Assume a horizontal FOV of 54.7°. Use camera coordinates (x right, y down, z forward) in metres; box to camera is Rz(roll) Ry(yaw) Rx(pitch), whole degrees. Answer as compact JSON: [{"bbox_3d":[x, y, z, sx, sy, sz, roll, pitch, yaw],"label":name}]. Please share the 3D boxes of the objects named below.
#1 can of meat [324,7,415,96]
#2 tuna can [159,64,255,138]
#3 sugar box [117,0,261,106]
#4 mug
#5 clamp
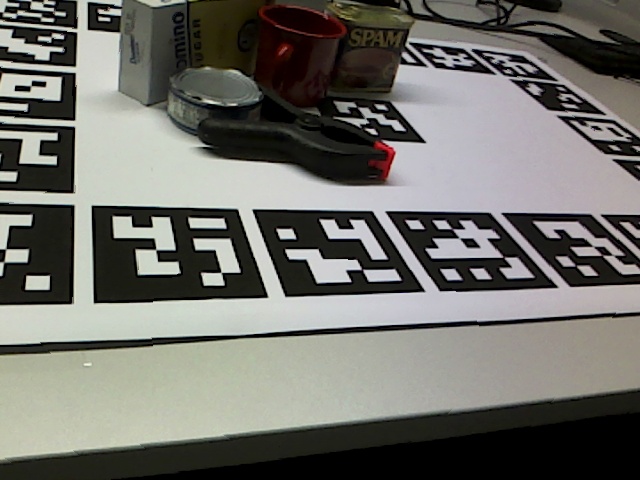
[{"bbox_3d":[0.048,-0.218,0.720,0.101,0.083,0.058,-4,39,-28],"label":"can of meat"},{"bbox_3d":[-0.105,-0.128,0.573,0.085,0.034,0.086,10,37,-8],"label":"tuna can"},{"bbox_3d":[-0.121,-0.200,0.625,0.045,0.093,0.176,30,36,22],"label":"sugar box"},{"bbox_3d":[-0.030,-0.193,0.644,0.093,0.081,0.117,16,37,0],"label":"mug"},{"bbox_3d":[-0.019,-0.090,0.561,0.165,0.036,0.122,25,32,6],"label":"clamp"}]
